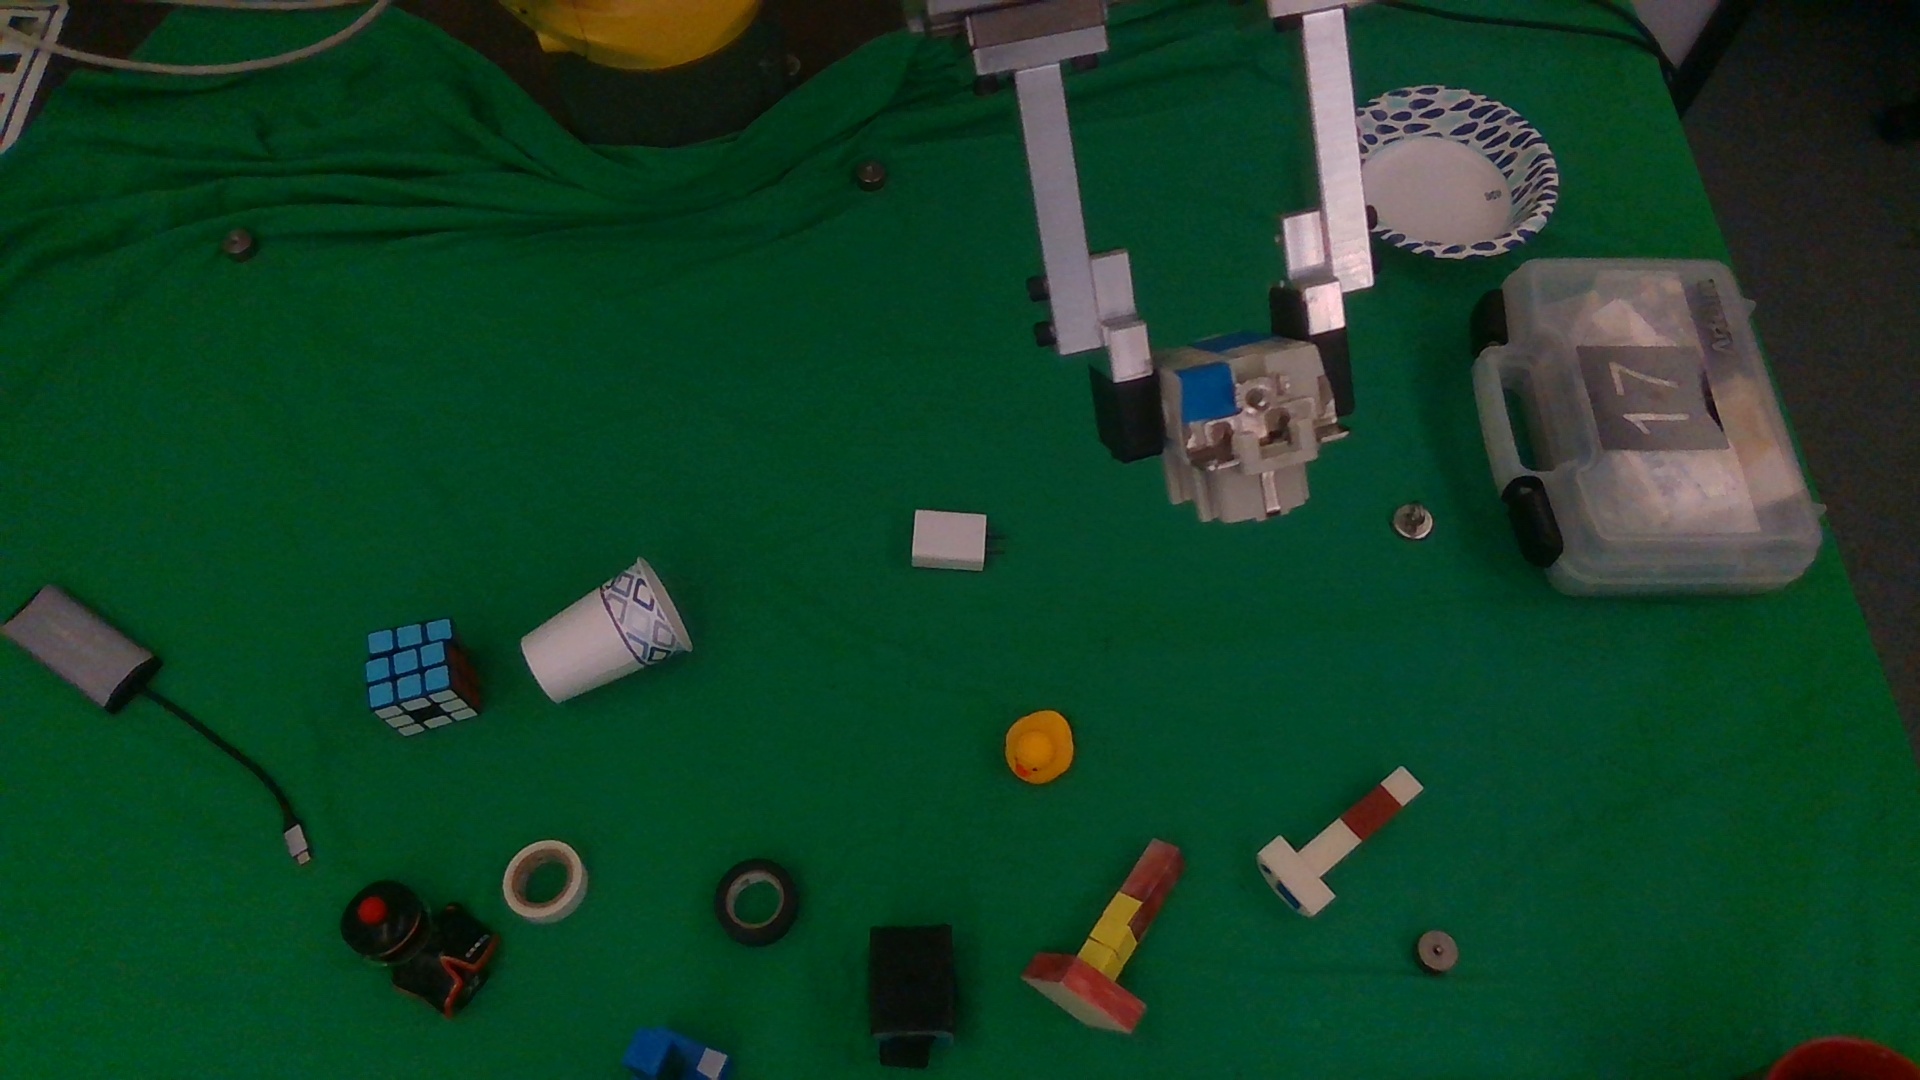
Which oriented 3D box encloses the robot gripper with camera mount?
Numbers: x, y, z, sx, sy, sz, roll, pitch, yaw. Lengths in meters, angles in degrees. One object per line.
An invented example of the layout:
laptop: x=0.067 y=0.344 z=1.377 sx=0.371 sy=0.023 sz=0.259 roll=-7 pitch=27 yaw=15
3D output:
robot gripper with camera mount: x=0.064 y=-0.078 z=0.219 sx=0.119 sy=0.193 sz=0.158 roll=-12 pitch=104 yaw=-8

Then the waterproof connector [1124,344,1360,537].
waterproof connector: x=0.062 y=-0.023 z=0.316 sx=0.035 sy=0.065 sz=0.037 roll=-17 pitch=102 yaw=-7
